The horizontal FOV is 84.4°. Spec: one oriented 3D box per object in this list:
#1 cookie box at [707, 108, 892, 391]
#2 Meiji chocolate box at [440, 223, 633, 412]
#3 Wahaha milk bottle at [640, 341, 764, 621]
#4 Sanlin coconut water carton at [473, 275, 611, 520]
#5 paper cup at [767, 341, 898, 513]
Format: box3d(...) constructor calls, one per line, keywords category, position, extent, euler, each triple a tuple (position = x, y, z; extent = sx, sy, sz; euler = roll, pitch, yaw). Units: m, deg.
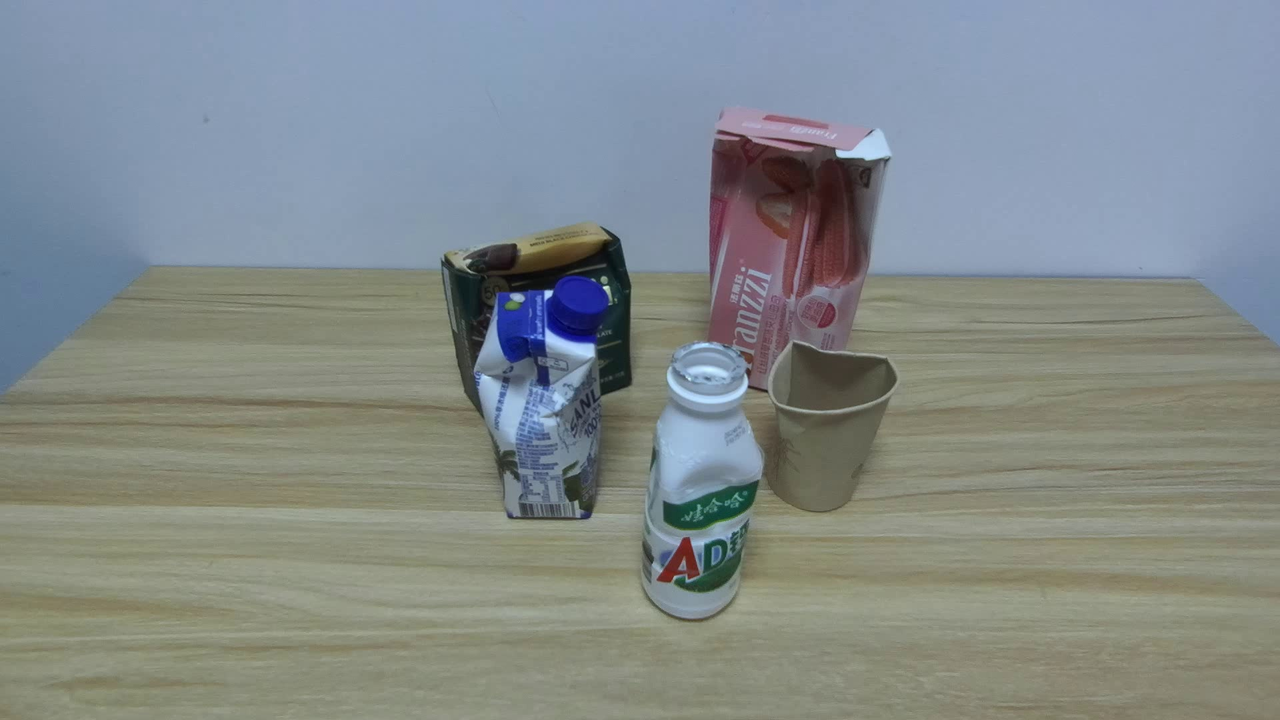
box3d(category="cookie box", position=(0.094, -0.062, 0.469), extent=(0.118, 0.184, 0.055), euler=(16, 39, 22))
box3d(category="Meiji chocolate box", position=(-0.067, -0.025, 0.484), extent=(0.113, 0.111, 0.058), euler=(-17, 28, -24))
box3d(category="Wahaha milk bottle", position=(0.029, 0.060, 0.335), extent=(0.055, 0.149, 0.055), euler=(1, 33, 0))
box3d(category="Sanlin coconut water carton", position=(-0.052, 0.022, 0.388), extent=(0.070, 0.144, 0.060), euler=(1, 37, -1))
box3d(category="paper cup", position=(0.107, 0.042, 0.409), extent=(0.071, 0.084, 0.066), euler=(9, 37, 13))
